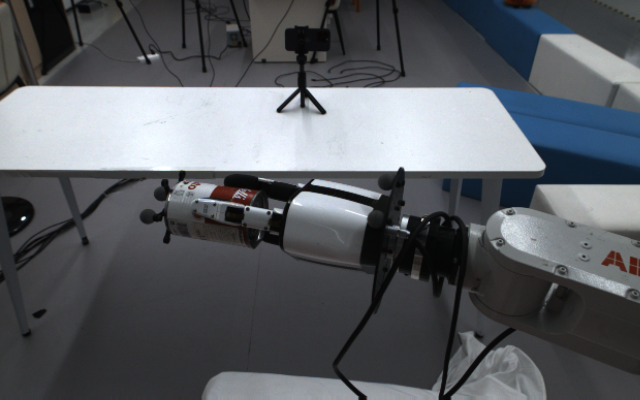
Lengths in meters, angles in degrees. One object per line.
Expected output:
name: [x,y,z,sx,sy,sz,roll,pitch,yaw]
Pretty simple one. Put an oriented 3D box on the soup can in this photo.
soup can: [-0.117,0.016,0.564,0.101,0.067,0.067,8,35,11]
